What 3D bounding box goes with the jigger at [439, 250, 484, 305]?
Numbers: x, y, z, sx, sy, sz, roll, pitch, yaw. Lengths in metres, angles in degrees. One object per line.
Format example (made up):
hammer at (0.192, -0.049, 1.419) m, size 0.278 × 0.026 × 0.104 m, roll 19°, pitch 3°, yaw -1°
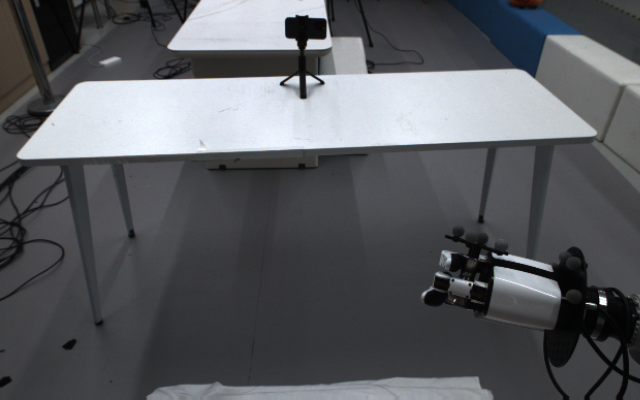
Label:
jigger at (0.202, 0.110, 0.668) m, size 0.043 × 0.071 × 0.043 m, roll 17°, pitch 2°, yaw -1°
